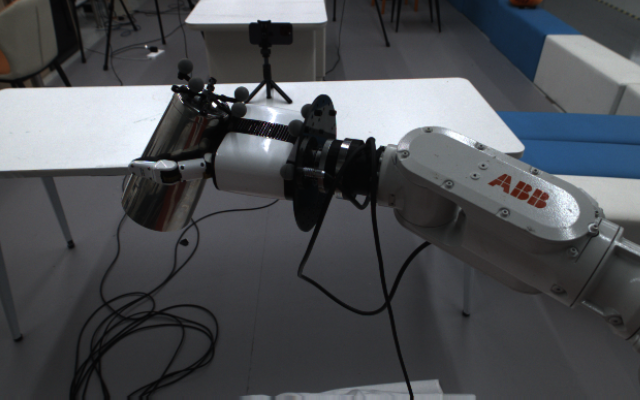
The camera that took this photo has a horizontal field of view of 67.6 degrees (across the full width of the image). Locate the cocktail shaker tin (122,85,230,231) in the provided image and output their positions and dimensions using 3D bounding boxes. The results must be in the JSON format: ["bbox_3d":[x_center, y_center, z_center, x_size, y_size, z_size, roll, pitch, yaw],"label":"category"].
[{"bbox_3d":[-0.172,-0.055,0.596,0.093,0.170,0.093,26,32,-18],"label":"cocktail shaker tin"}]
